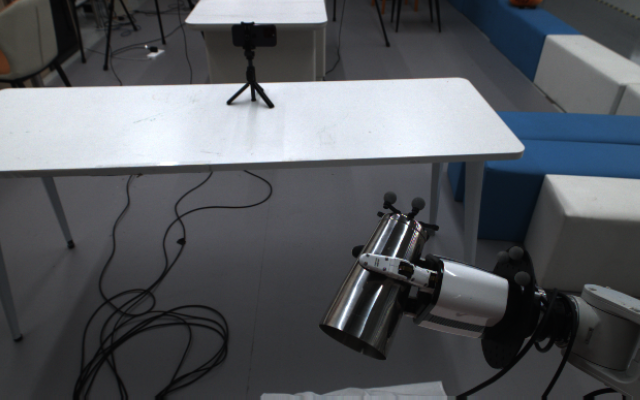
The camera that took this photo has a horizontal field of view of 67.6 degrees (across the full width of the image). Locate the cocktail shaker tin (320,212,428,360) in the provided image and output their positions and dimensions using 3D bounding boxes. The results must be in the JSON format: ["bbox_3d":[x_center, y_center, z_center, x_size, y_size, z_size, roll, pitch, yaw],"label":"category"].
[{"bbox_3d":[0.079,0.102,0.619,0.093,0.093,0.170,18,66,21],"label":"cocktail shaker tin"}]
